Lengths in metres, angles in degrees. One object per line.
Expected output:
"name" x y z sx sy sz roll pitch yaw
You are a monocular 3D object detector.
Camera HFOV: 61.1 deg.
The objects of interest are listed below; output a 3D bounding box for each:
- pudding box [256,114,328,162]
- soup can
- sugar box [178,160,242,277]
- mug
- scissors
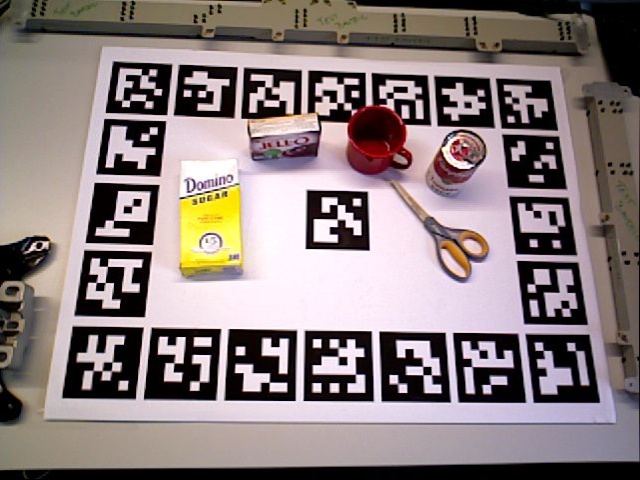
"pudding box" -0.042 -0.160 0.840 0.113 0.091 0.038 -7 80 -6
"soup can" 0.220 -0.111 0.844 0.067 0.103 0.067 1 72 -3
"sugar box" -0.166 -0.033 0.830 0.092 0.046 0.175 -1 76 -2
"mug" 0.105 -0.153 0.853 0.092 0.082 0.117 -34 77 -10
"scissors" 0.193 -0.010 0.851 0.087 0.016 0.202 -41 81 -3
